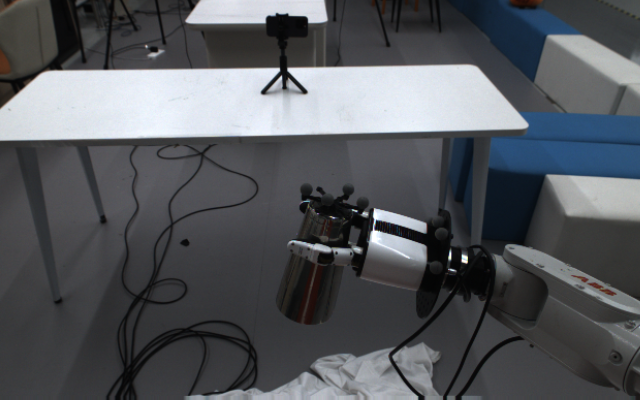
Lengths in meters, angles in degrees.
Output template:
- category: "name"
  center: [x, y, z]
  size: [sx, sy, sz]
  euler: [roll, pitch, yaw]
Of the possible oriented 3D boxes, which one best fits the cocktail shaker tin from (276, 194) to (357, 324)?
- category: "cocktail shaker tin"
  center: [-0.001, 0.084, 0.710]
  size: [0.093, 0.170, 0.093]
  euler: [12, 25, -6]
